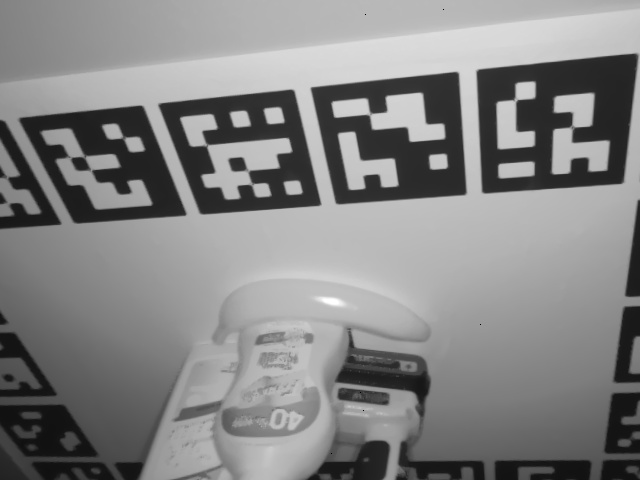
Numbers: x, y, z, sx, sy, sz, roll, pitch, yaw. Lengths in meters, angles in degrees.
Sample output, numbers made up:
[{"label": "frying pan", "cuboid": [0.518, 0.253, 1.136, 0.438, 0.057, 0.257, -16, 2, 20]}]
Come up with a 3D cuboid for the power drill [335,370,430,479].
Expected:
[{"label": "power drill", "cuboid": [0.021, 0.195, 0.577, 0.184, 0.189, 0.057, 7, 127, 5]}]

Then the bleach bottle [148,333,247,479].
[{"label": "bleach bottle", "cuboid": [-0.090, 0.194, 0.585, 0.102, 0.253, 0.067, -1, 131, 9]}]

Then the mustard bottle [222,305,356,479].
[{"label": "mustard bottle", "cuboid": [-0.027, 0.128, 0.560, 0.096, 0.193, 0.058, -3, 125, 11]}]

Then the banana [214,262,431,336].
[{"label": "banana", "cuboid": [-0.001, 0.053, 0.610, 0.197, 0.039, 0.073, -1, 124, 5]}]
